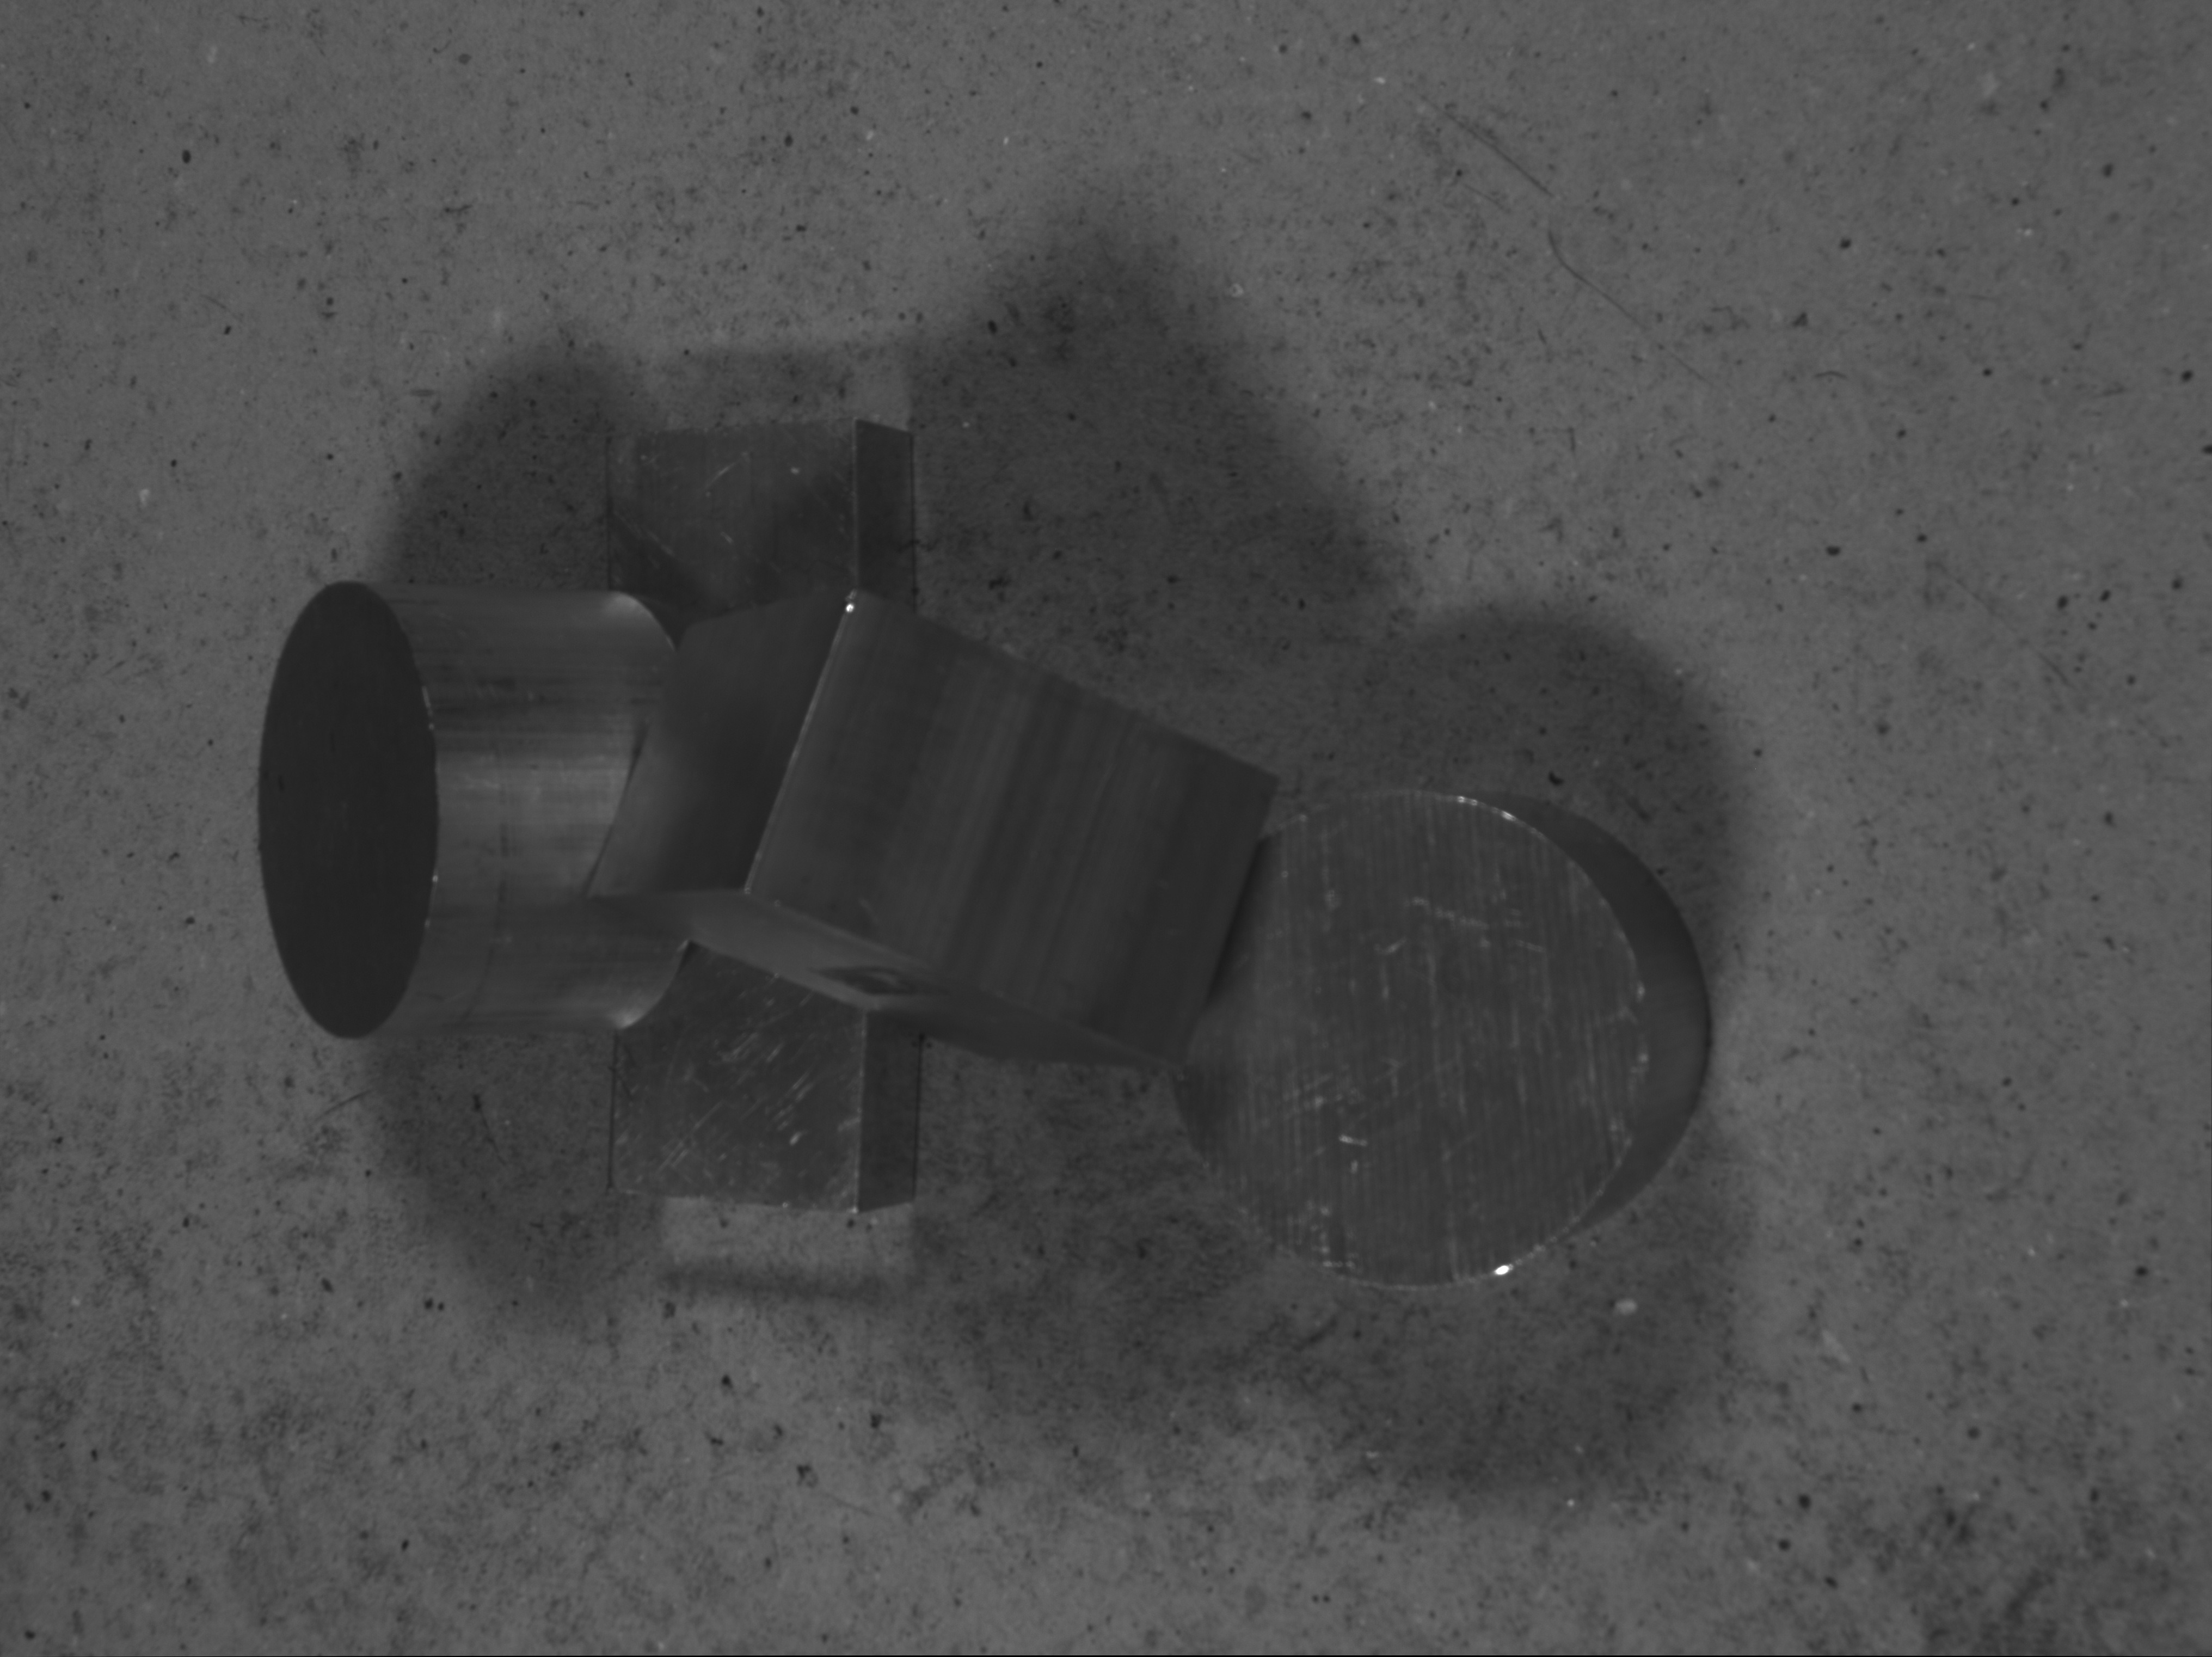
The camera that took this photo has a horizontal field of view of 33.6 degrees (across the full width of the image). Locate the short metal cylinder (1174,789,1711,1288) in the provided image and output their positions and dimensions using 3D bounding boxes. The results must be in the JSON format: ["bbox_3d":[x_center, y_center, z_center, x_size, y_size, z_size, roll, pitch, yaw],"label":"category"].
[{"bbox_3d":[0.057,0.034,0.611,0.080,0.050,0.080,0,90,20],"label":"short metal cylinder"}]

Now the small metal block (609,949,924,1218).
[{"bbox_3d":[-0.061,0.043,0.666,0.050,0.025,0.050,3,91,20],"label":"small metal block"}]

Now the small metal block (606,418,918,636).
[{"bbox_3d":[-0.062,-0.047,0.666,0.050,0.025,0.050,-1,89,20],"label":"small metal block"}]

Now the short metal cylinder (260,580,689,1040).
[{"bbox_3d":[-0.112,-0.003,0.652,0.080,0.050,0.080,1,92,56],"label":"short metal cylinder"}]

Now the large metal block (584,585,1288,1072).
[{"bbox_3d":[-0.030,0.002,0.606,0.080,0.080,0.050,24,78,-23],"label":"large metal block"}]
